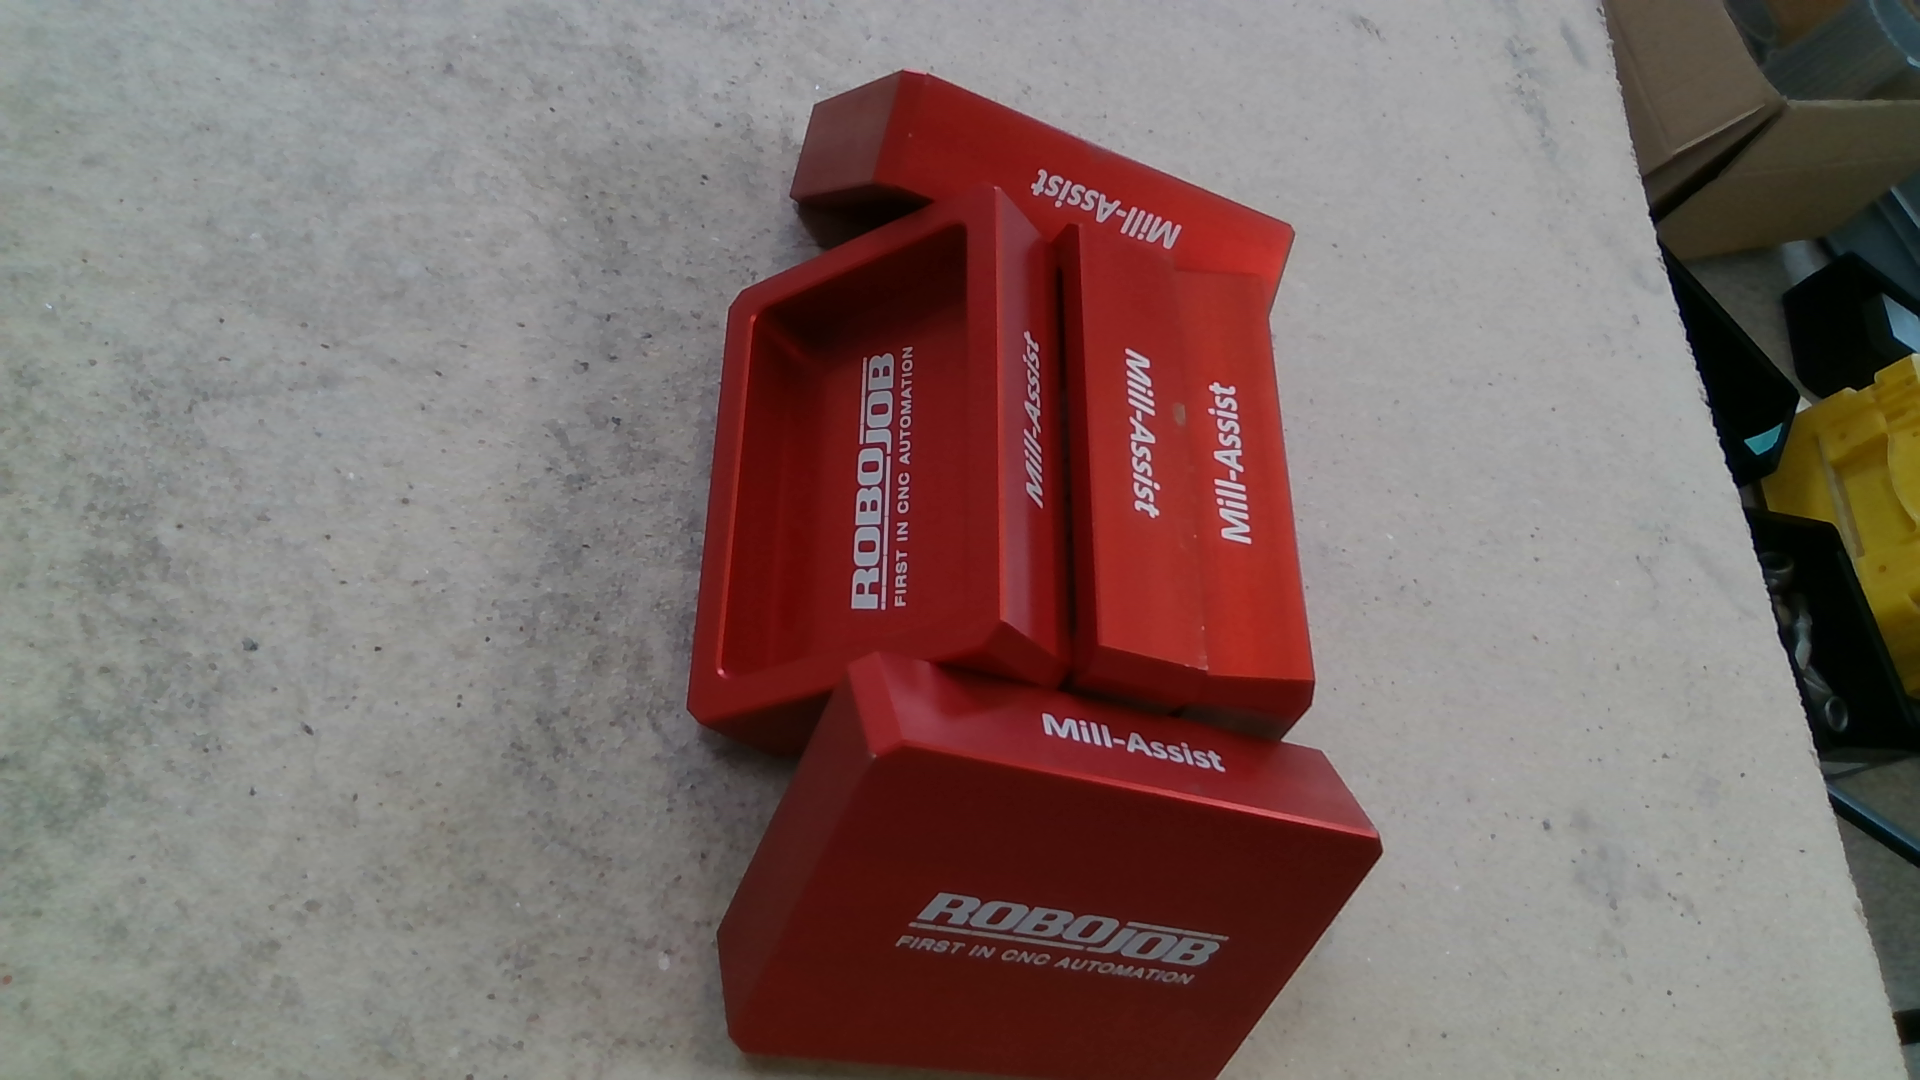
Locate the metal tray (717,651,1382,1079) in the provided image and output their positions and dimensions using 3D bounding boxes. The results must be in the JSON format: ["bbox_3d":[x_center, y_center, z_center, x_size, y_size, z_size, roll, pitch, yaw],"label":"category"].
[{"bbox_3d":[0.020,0.081,0.319,0.130,0.090,0.030,15,27,-25],"label":"metal tray"}]

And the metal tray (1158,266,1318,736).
[{"bbox_3d":[0.064,0.000,0.388,0.030,0.090,0.130,3,62,-6],"label":"metal tray"}]

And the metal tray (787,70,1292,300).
[{"bbox_3d":[0.023,-0.100,0.419,0.130,0.090,0.030,15,95,-25],"label":"metal tray"}]

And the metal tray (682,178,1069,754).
[{"bbox_3d":[-0.021,-0.019,0.347,0.030,0.090,0.130,37,45,-48],"label":"metal tray"}]

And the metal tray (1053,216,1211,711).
[{"bbox_3d":[0.023,-0.008,0.369,0.030,0.090,0.130,14,59,-25],"label":"metal tray"}]
